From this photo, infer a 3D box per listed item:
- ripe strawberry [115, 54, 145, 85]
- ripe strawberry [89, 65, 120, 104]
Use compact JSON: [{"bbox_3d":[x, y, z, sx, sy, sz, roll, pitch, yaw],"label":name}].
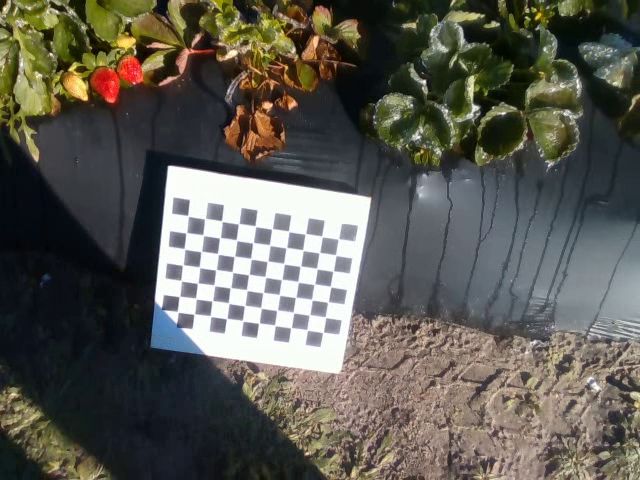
[{"bbox_3d":[-0.237,-0.214,0.799,0.041,0.036,0.030,36,10,-3],"label":"ripe strawberry"},{"bbox_3d":[-0.264,-0.187,0.787,0.036,0.052,0.040,-29,-26,5],"label":"ripe strawberry"}]
